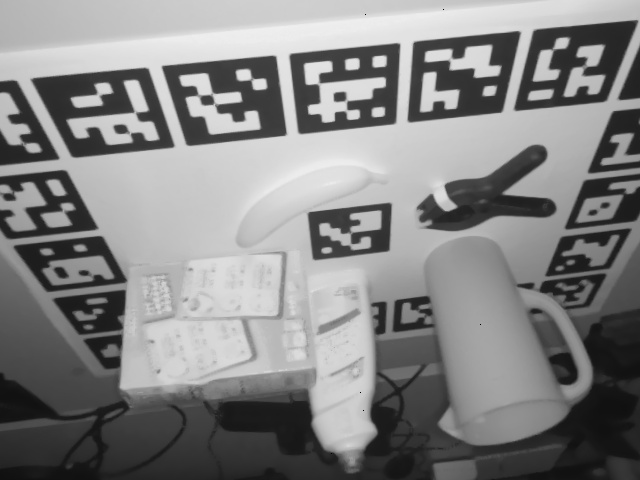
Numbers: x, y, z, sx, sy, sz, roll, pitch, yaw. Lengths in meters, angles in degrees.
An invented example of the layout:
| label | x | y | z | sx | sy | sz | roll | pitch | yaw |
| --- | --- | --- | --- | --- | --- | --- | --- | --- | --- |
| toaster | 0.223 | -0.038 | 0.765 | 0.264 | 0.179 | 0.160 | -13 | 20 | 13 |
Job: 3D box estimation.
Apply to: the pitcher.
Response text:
| label | x | y | z | sx | sy | sz | roll | pitch | yaw |
| --- | --- | --- | --- | --- | --- | --- | --- | --- | --- |
| pitcher | 0.214 | 0.104 | 0.823 | 0.188 | 0.244 | 0.133 | -15 | 142 | 13 |

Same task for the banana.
| label | x | y | z | sx | sy | sz | roll | pitch | yaw |
| --- | --- | --- | --- | --- | --- | --- | --- | --- | --- |
| banana | -0.032 | -0.076 | 0.766 | 0.195 | 0.039 | 0.075 | -27 | 138 | 22 |

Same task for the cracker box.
| label | x | y | z | sx | sy | sz | roll | pitch | yaw |
| --- | --- | --- | --- | --- | --- | --- | --- | --- | --- |
| cracker box | -0.132 | 0.075 | 0.798 | 0.215 | 0.165 | 0.071 | -5 | 144 | -7 |

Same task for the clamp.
| label | x | y | z | sx | sy | sz | roll | pitch | yaw |
| --- | --- | --- | --- | --- | --- | --- | --- | --- | --- |
| clamp | 0.189 | -0.074 | 0.798 | 0.164 | 0.037 | 0.122 | -14 | 143 | 10 |

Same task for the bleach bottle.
| label | x | y | z | sx | sy | sz | roll | pitch | yaw |
| --- | --- | --- | --- | --- | --- | --- | --- | --- | --- |
| bleach bottle | 0.026 | 0.130 | 0.851 | 0.103 | 0.252 | 0.067 | -5 | 142 | -4 |
